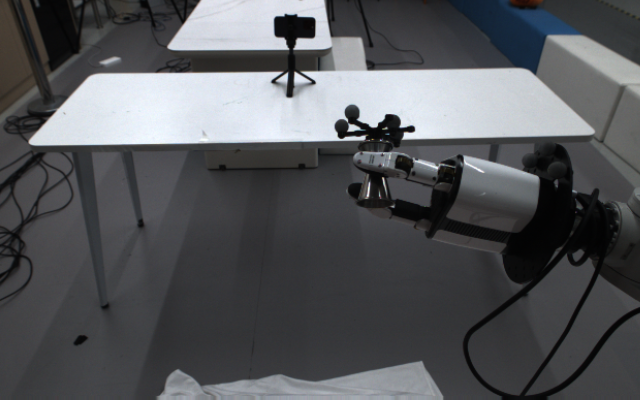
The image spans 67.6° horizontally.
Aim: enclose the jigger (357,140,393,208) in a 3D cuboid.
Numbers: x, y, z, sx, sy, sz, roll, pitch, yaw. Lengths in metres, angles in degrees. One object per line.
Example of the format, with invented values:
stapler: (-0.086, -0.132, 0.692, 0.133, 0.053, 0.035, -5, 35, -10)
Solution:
jigger: (0.061, -0.030, 0.540, 0.043, 0.043, 0.071, 3, 76, 1)
